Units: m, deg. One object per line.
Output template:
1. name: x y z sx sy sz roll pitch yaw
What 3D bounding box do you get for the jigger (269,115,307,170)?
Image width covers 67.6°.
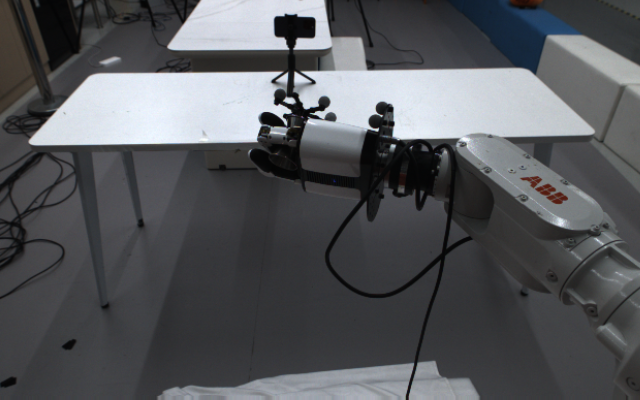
1. jigger: -0.038 -0.082 0.686 0.043 0.043 0.071 13 70 16
